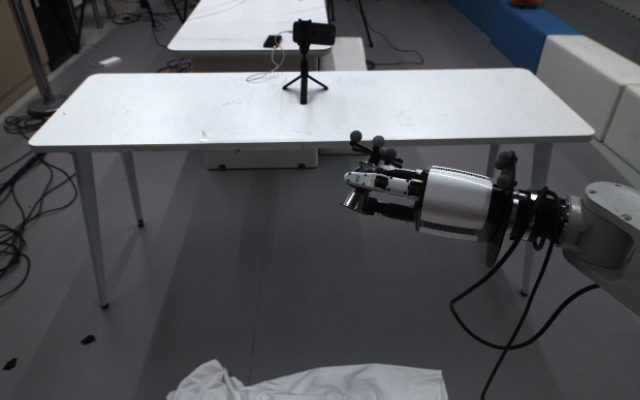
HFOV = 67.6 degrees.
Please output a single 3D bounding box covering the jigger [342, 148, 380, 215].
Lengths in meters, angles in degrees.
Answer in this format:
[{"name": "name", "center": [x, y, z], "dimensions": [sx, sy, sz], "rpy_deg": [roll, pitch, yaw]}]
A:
[{"name": "jigger", "center": [0.059, -0.019, 0.683], "dimensions": [0.043, 0.071, 0.043], "rpy_deg": [24, -3, 1]}]
